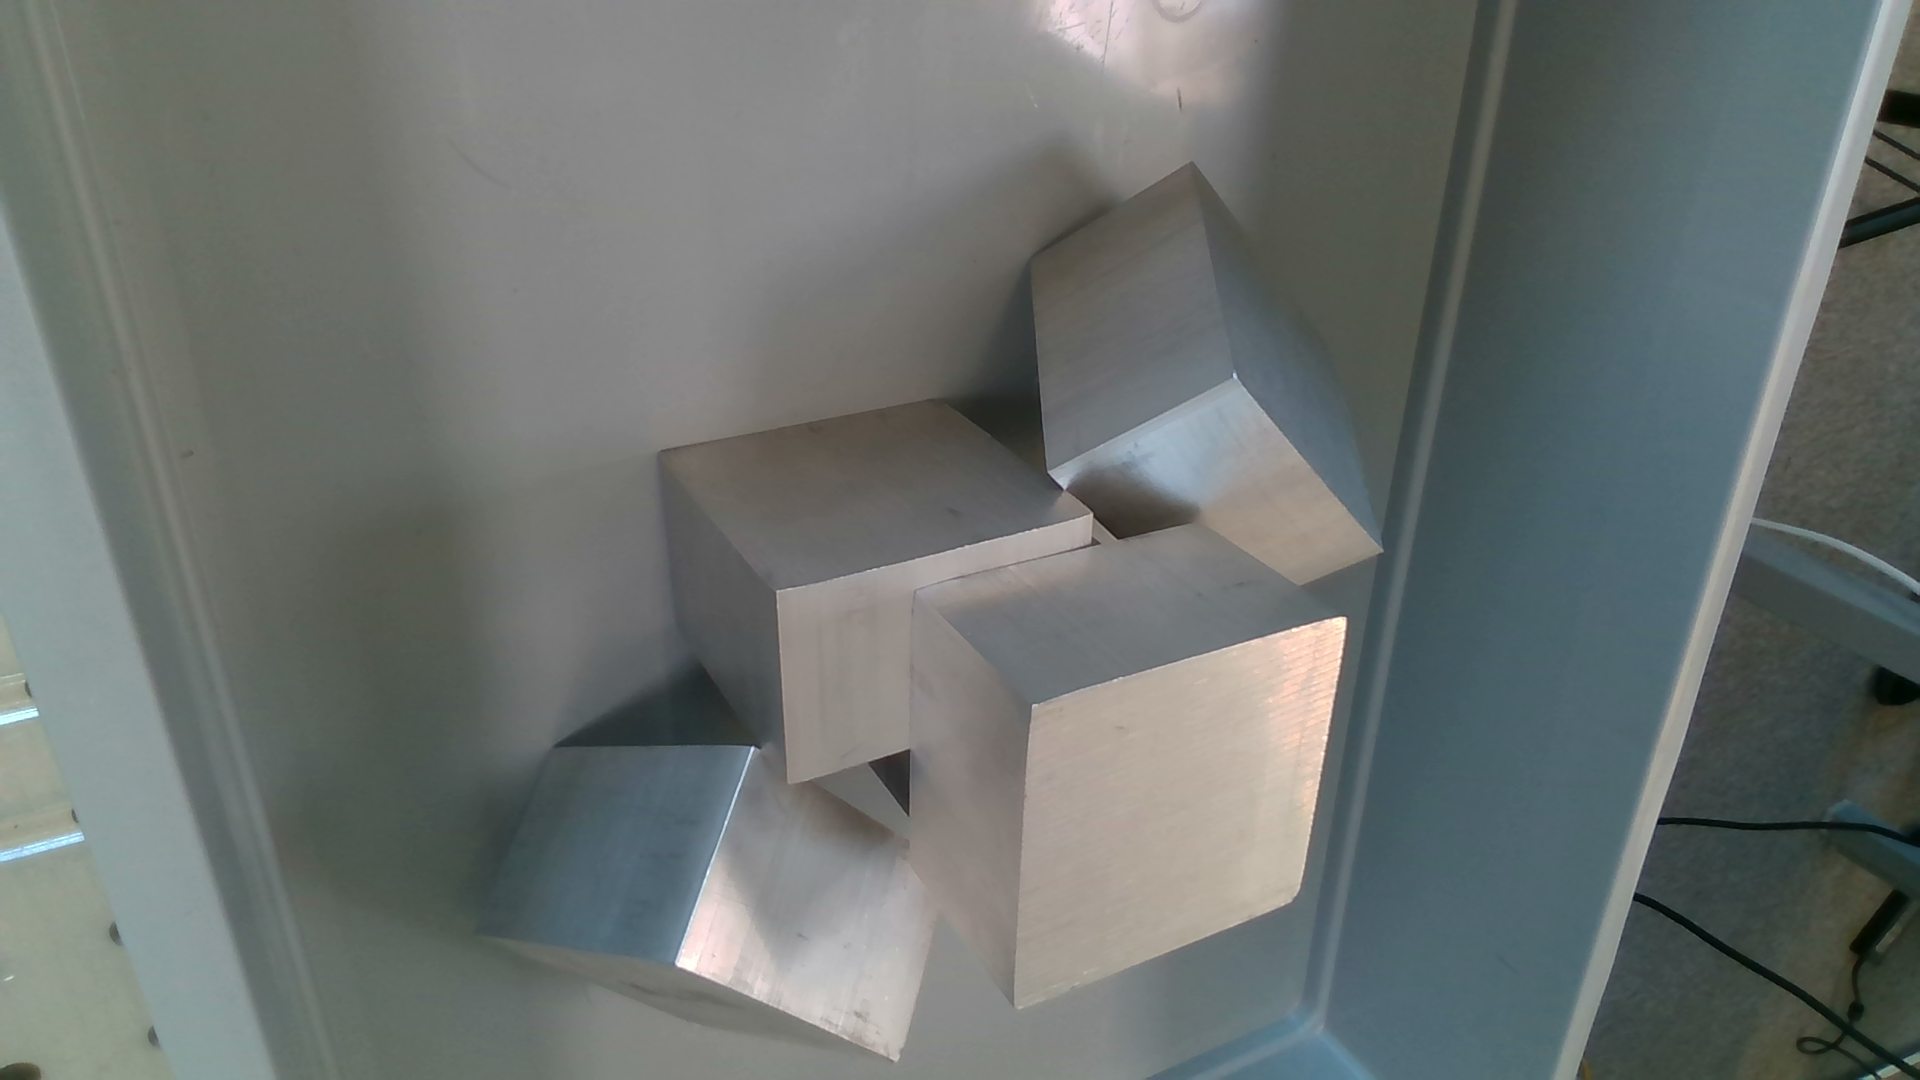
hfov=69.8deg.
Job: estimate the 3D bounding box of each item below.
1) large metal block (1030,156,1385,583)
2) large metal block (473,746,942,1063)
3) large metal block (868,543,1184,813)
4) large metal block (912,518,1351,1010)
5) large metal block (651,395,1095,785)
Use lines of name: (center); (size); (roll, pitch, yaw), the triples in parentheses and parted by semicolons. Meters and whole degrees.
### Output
large metal block: (0.064, -0.037, 0.363); (0.050, 0.080, 0.080); (-26, 136, 27)
large metal block: (-0.061, 0.093, 0.356); (0.080, 0.080, 0.050); (41, 55, -39)
large metal block: (0.020, 0.044, 0.388); (0.080, 0.080, 0.050); (-14, 121, -26)
large metal block: (0.036, 0.048, 0.317); (0.080, 0.050, 0.080); (-13, 121, -26)
large metal block: (-0.024, 0.007, 0.343); (0.080, 0.080, 0.050); (-14, 121, -26)
